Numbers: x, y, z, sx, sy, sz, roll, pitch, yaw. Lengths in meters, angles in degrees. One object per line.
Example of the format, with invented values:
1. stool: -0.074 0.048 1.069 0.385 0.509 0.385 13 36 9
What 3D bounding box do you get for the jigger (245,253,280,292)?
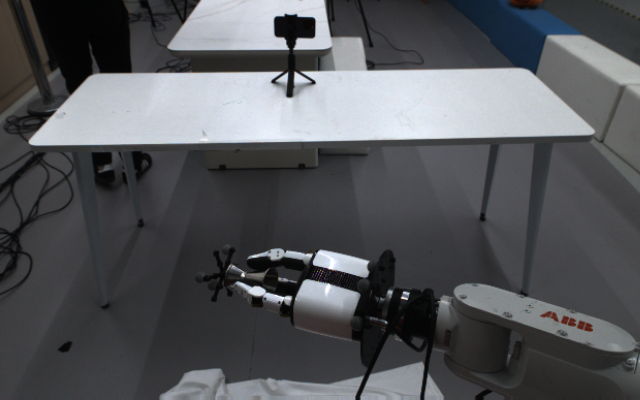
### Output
1. jigger: -0.094 0.111 0.723 0.071 0.043 0.043 4 33 25
